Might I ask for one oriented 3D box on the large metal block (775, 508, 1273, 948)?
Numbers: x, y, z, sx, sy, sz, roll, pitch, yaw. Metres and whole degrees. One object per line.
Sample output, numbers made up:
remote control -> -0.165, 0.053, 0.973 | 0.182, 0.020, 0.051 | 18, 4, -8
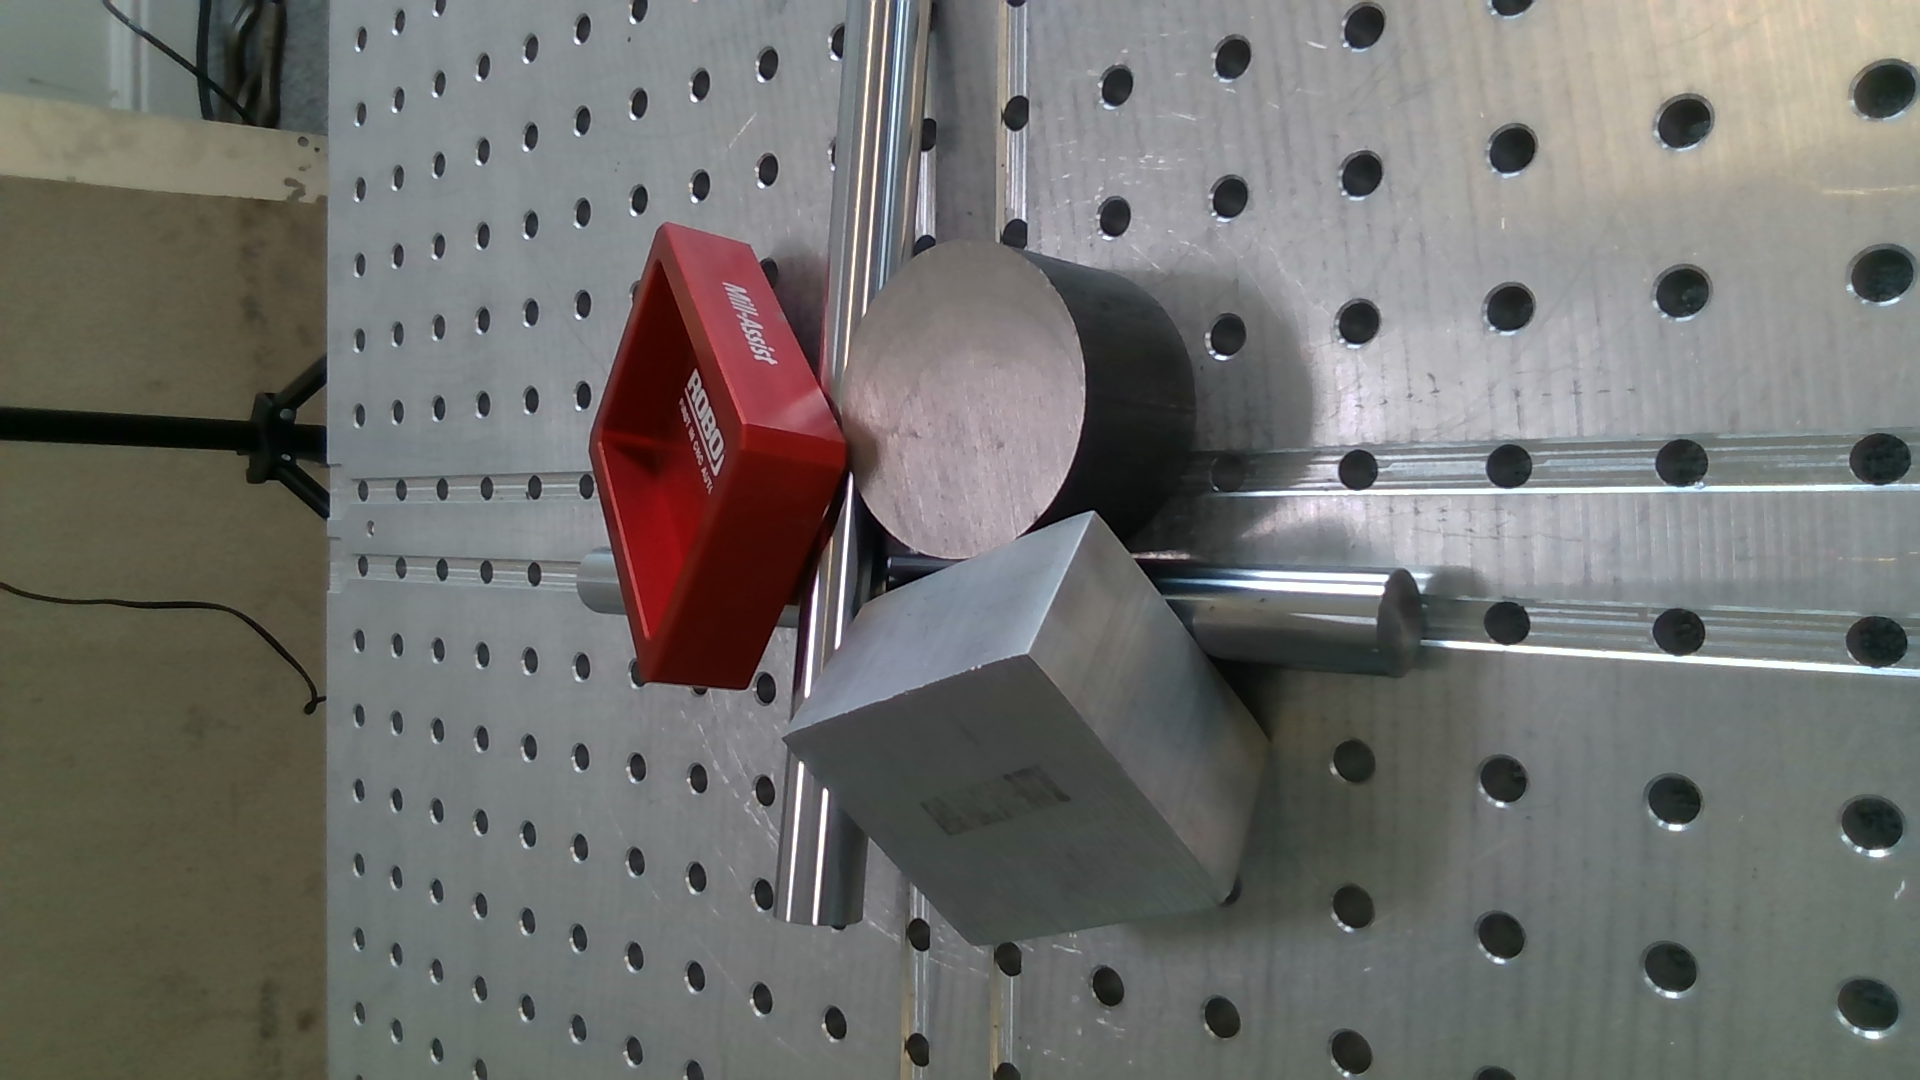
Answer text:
large metal block -> 0.017, 0.049, 0.338 | 0.080, 0.050, 0.080 | -23, 115, 38

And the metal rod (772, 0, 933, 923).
metal rod -> -0.029, -0.045, 0.396 | 0.025, 0.025, 0.300 | 0, 83, 40

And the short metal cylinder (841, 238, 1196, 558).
short metal cylinder -> 0.015, -0.035, 0.364 | 0.080, 0.050, 0.080 | 0, 91, 40

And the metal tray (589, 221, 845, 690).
metal tray -> -0.080, -0.029, 0.424 | 0.090, 0.030, 0.130 | -63, 34, 28

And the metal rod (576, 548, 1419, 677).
metal rod -> -0.016, 0.017, 0.407 | 0.300, 0.025, 0.025 | 1, 91, 40
